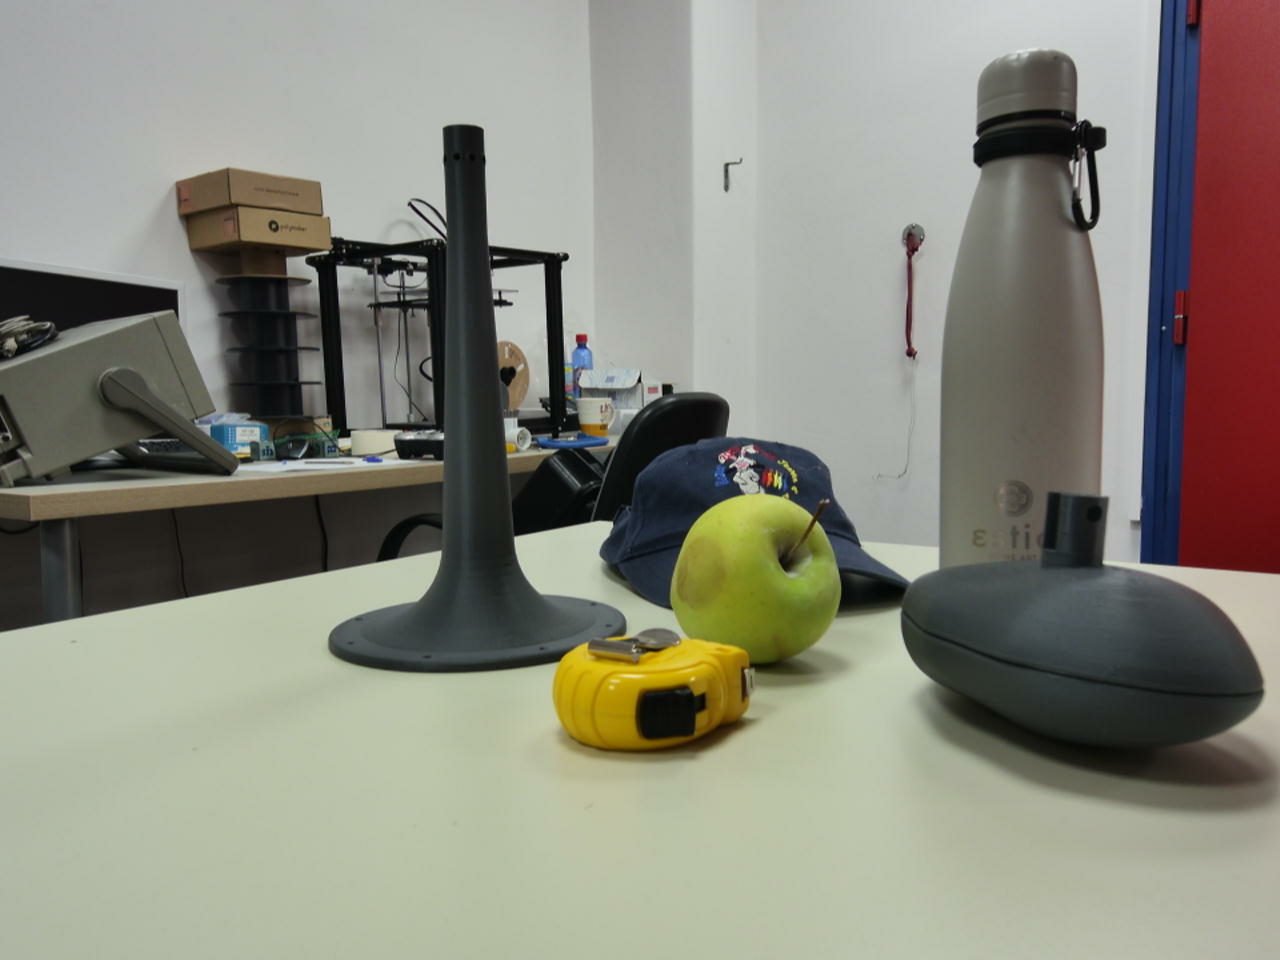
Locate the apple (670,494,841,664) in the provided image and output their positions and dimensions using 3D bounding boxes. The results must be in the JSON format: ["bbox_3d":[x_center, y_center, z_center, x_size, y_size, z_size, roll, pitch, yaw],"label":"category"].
[{"bbox_3d":[0.052,0.044,0.453,0.072,0.075,0.077,-1,3,-9],"label":"apple"}]
